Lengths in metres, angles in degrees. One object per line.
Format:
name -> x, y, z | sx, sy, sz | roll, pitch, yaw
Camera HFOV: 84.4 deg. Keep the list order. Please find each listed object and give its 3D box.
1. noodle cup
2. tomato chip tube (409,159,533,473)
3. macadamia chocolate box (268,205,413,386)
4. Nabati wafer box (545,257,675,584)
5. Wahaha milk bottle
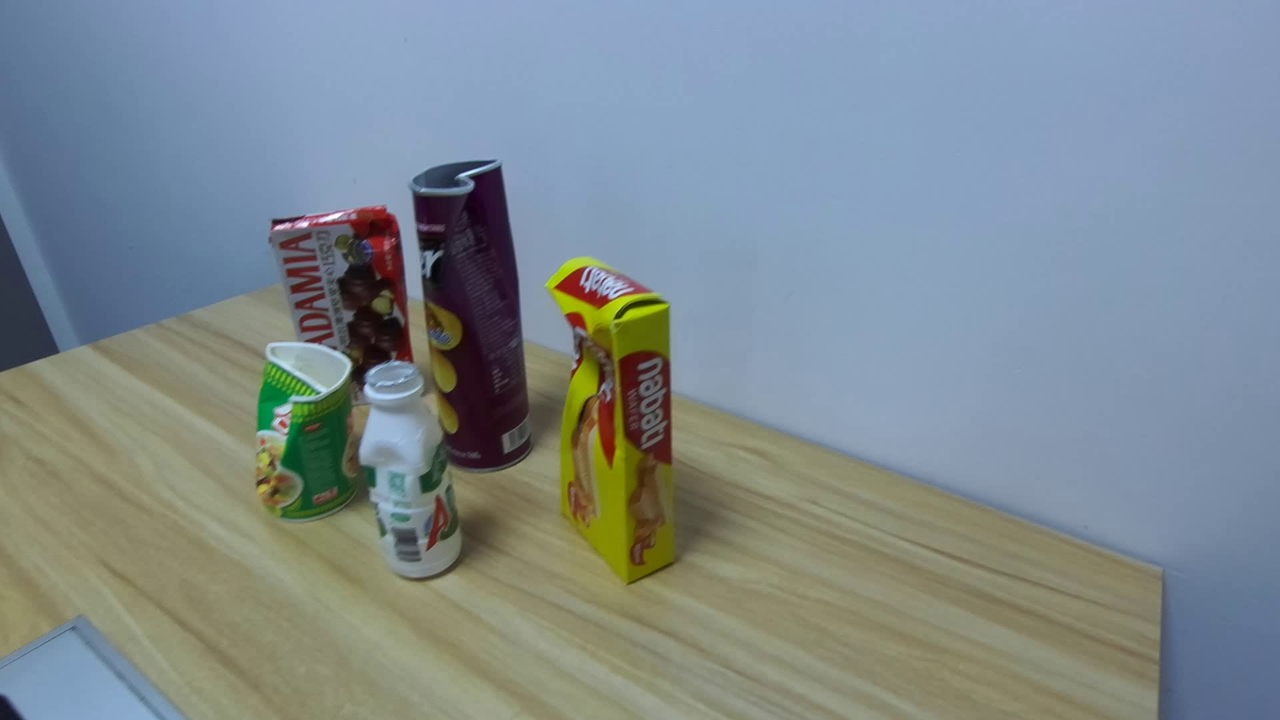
noodle cup -> -0.249, 0.056, 0.520 | 0.075, 0.122, 0.082 | 6, 20, -7
tomato chip tube -> -0.128, -0.029, 0.556 | 0.078, 0.235, 0.076 | -11, 30, -20
macadamia chocolate box -> -0.254, -0.044, 0.625 | 0.103, 0.187, 0.027 | -7, 36, -13
Nabati wafer box -> -0.021, 0.038, 0.467 | 0.042, 0.204, 0.106 | -19, 34, -28
Wahaha milk bottle -> -0.151, 0.072, 0.460 | 0.055, 0.149, 0.055 | -1, 29, 1
